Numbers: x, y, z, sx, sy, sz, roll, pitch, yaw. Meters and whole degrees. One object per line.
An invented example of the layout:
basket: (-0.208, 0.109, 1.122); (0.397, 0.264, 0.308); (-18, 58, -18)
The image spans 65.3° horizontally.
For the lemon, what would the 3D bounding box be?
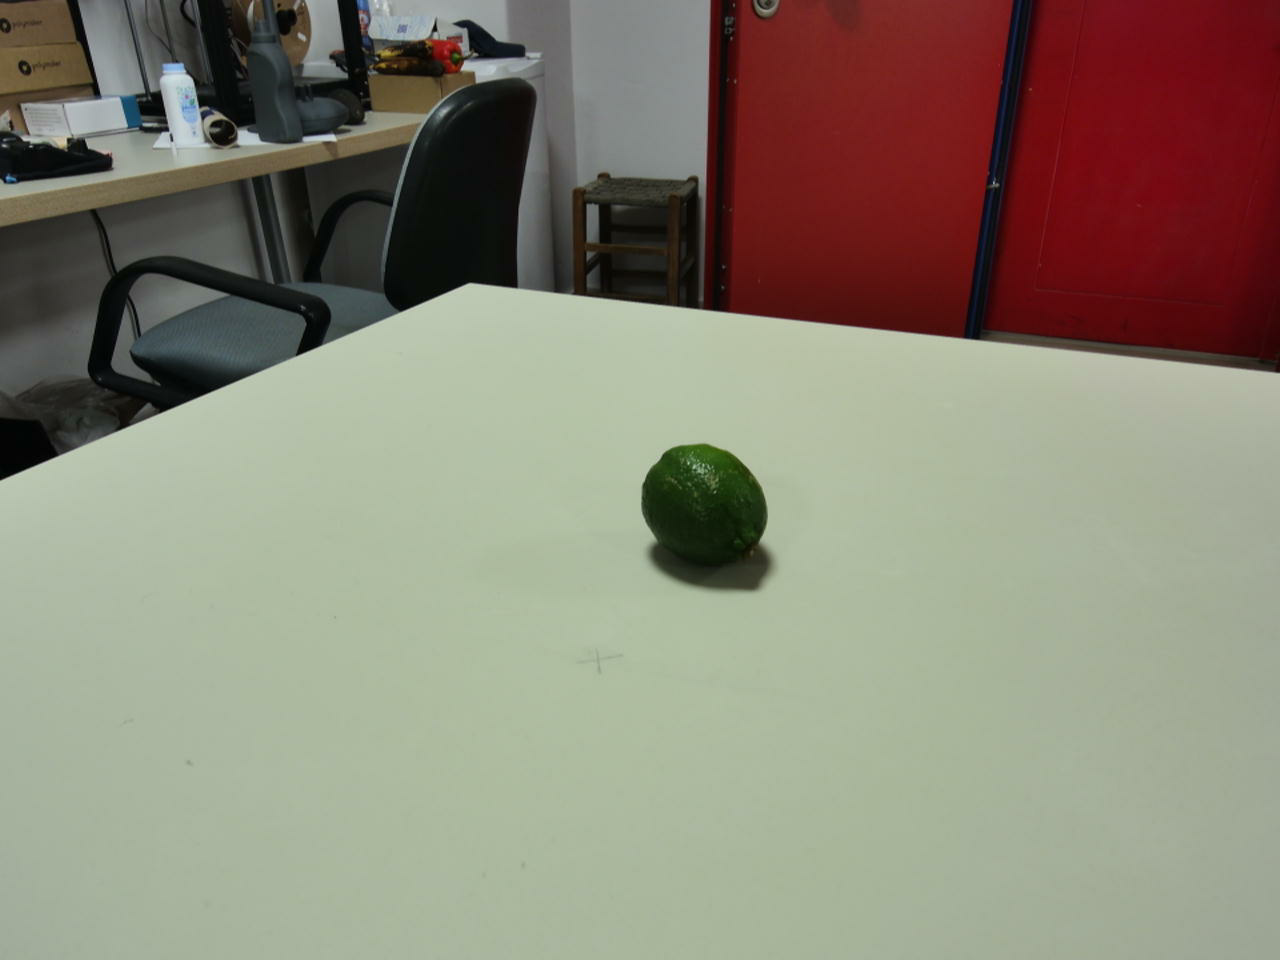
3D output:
lemon: (0.028, 0.010, 0.441); (0.057, 0.051, 0.054); (9, 25, 20)
